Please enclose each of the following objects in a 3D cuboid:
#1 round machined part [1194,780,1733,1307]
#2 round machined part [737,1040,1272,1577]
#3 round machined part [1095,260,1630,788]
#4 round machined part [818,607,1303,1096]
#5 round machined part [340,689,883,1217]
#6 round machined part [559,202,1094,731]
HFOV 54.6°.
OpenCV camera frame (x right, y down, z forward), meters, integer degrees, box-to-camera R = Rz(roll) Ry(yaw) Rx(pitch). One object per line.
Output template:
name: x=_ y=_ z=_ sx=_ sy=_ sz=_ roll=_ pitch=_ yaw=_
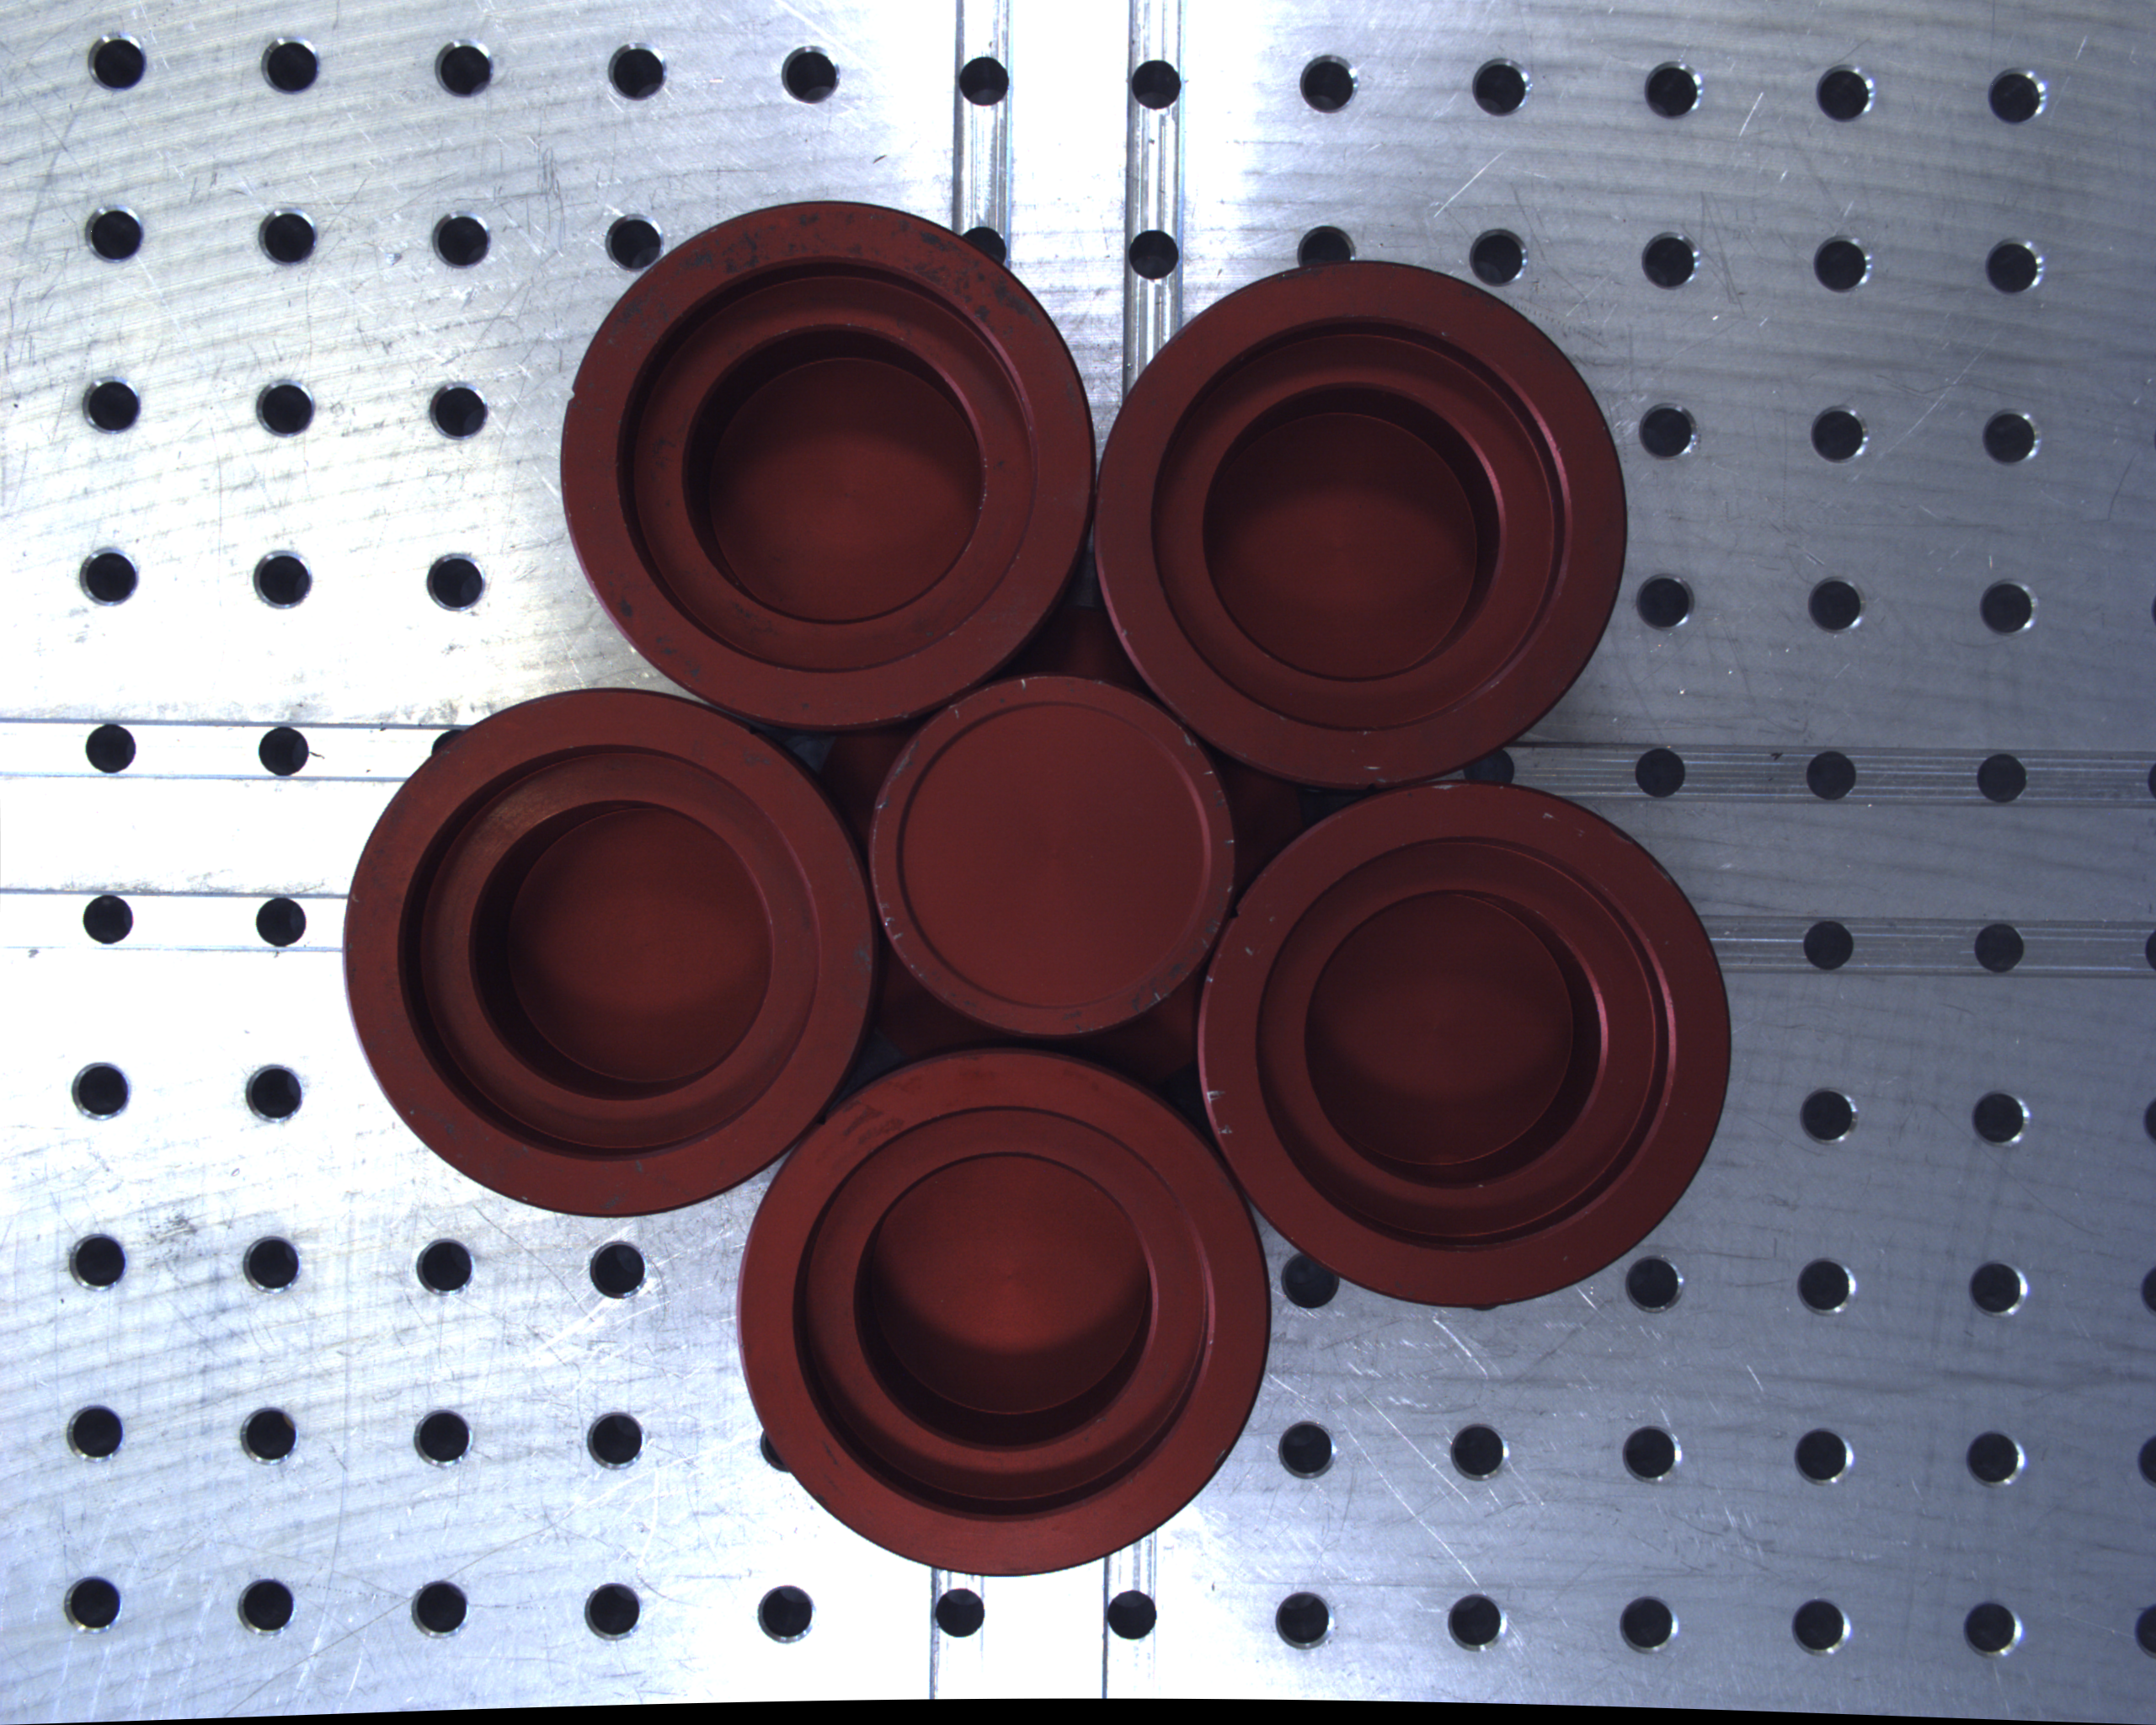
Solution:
round machined part: x=0.072 y=0.033 z=0.405 sx=0.099 sy=0.042 sz=0.097 roll=0 pitch=90 yaw=0
round machined part: x=-0.013 y=0.083 z=0.404 sx=0.099 sy=0.042 sz=0.097 roll=0 pitch=90 yaw=0
round machined part: x=0.053 y=-0.063 z=0.405 sx=0.099 sy=0.042 sz=0.097 roll=0 pitch=90 yaw=0
round machined part: x=-0.005 y=-0.001 z=0.404 sx=0.099 sy=0.042 sz=0.097 roll=0 pitch=90 yaw=0
round machined part: x=-0.086 y=0.016 z=0.404 sx=0.099 sy=0.042 sz=0.097 roll=0 pitch=90 yaw=0
round machined part: x=-0.046 y=-0.073 z=0.404 sx=0.099 sy=0.042 sz=0.097 roll=0 pitch=90 yaw=0
